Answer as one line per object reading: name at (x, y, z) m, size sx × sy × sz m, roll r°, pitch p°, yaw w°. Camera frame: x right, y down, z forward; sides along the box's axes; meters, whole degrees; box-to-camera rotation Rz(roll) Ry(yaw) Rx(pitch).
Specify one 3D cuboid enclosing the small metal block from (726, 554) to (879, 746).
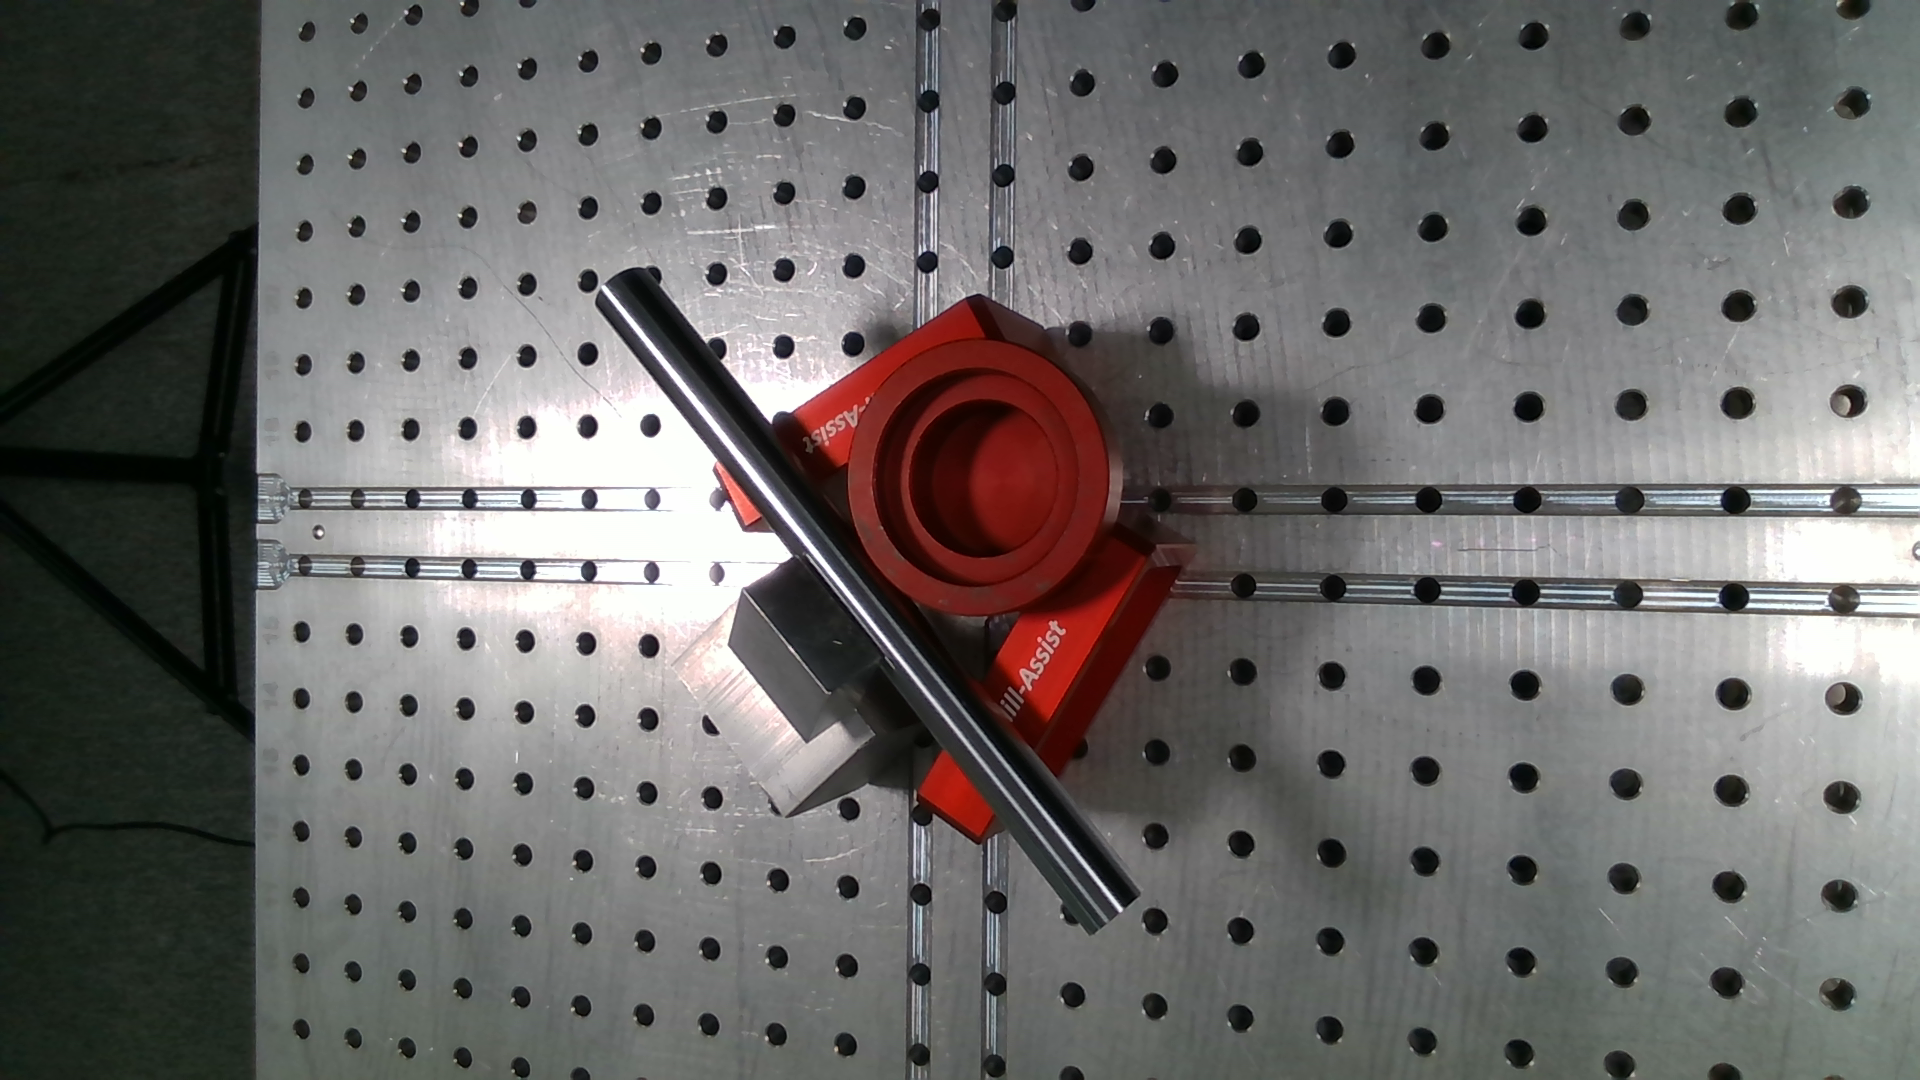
small metal block at (-0.060, 0.041, 0.510) m, size 0.025 × 0.050 × 0.050 m, roll -34°, pitch 75°, yaw -28°

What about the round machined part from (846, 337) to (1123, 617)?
round machined part at (0.012, -0.022, 0.501) m, size 0.098 × 0.042 × 0.098 m, roll 0°, pitch 91°, yaw 20°

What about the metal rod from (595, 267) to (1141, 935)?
metal rod at (-0.040, 0.015, 0.507) m, size 0.025 × 0.025 × 0.300 m, roll -43°, pitch 77°, yaw 15°

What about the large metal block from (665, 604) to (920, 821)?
large metal block at (-0.063, 0.064, 0.579) m, size 0.050 × 0.080 × 0.080 m, roll -43°, pitch 76°, yaw 15°

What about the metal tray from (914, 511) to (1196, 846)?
metal tray at (0.040, 0.051, 0.538) m, size 0.030 × 0.090 × 0.130 m, roll 33°, pitch 101°, yaw 18°

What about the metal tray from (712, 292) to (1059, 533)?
metal tray at (-0.025, -0.047, 0.562) m, size 0.130 × 0.090 × 0.030 m, roll -31°, pitch 80°, yaw 18°
